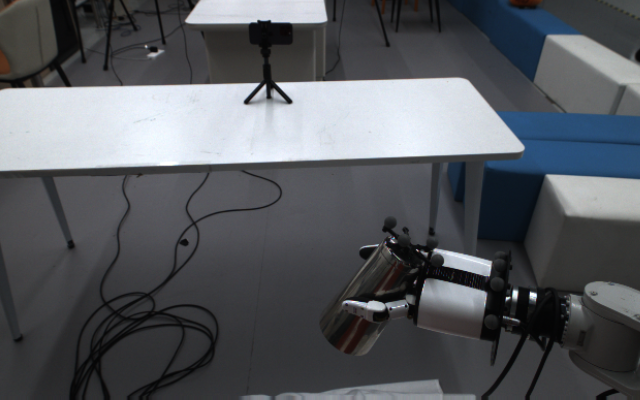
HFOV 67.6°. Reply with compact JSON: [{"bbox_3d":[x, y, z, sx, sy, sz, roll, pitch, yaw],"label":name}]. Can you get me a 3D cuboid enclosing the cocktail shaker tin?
[{"bbox_3d":[0.079,0.131,0.704,0.093,0.170,0.093,25,29,-15],"label":"cocktail shaker tin"}]
